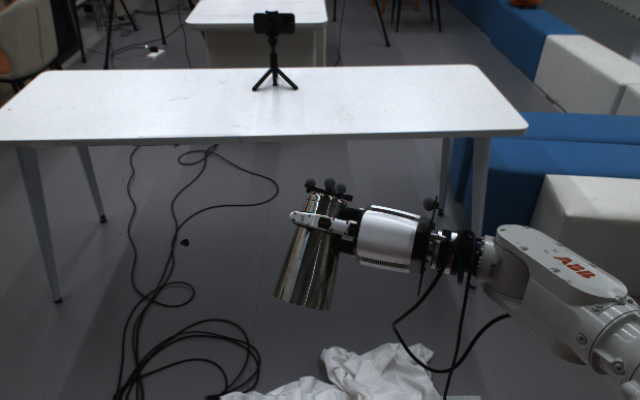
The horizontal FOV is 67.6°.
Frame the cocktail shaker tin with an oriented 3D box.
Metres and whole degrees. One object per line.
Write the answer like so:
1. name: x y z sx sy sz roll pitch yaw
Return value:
1. cocktail shaker tin: -0.008 0.076 0.768 0.093 0.170 0.093 15 -5 1
